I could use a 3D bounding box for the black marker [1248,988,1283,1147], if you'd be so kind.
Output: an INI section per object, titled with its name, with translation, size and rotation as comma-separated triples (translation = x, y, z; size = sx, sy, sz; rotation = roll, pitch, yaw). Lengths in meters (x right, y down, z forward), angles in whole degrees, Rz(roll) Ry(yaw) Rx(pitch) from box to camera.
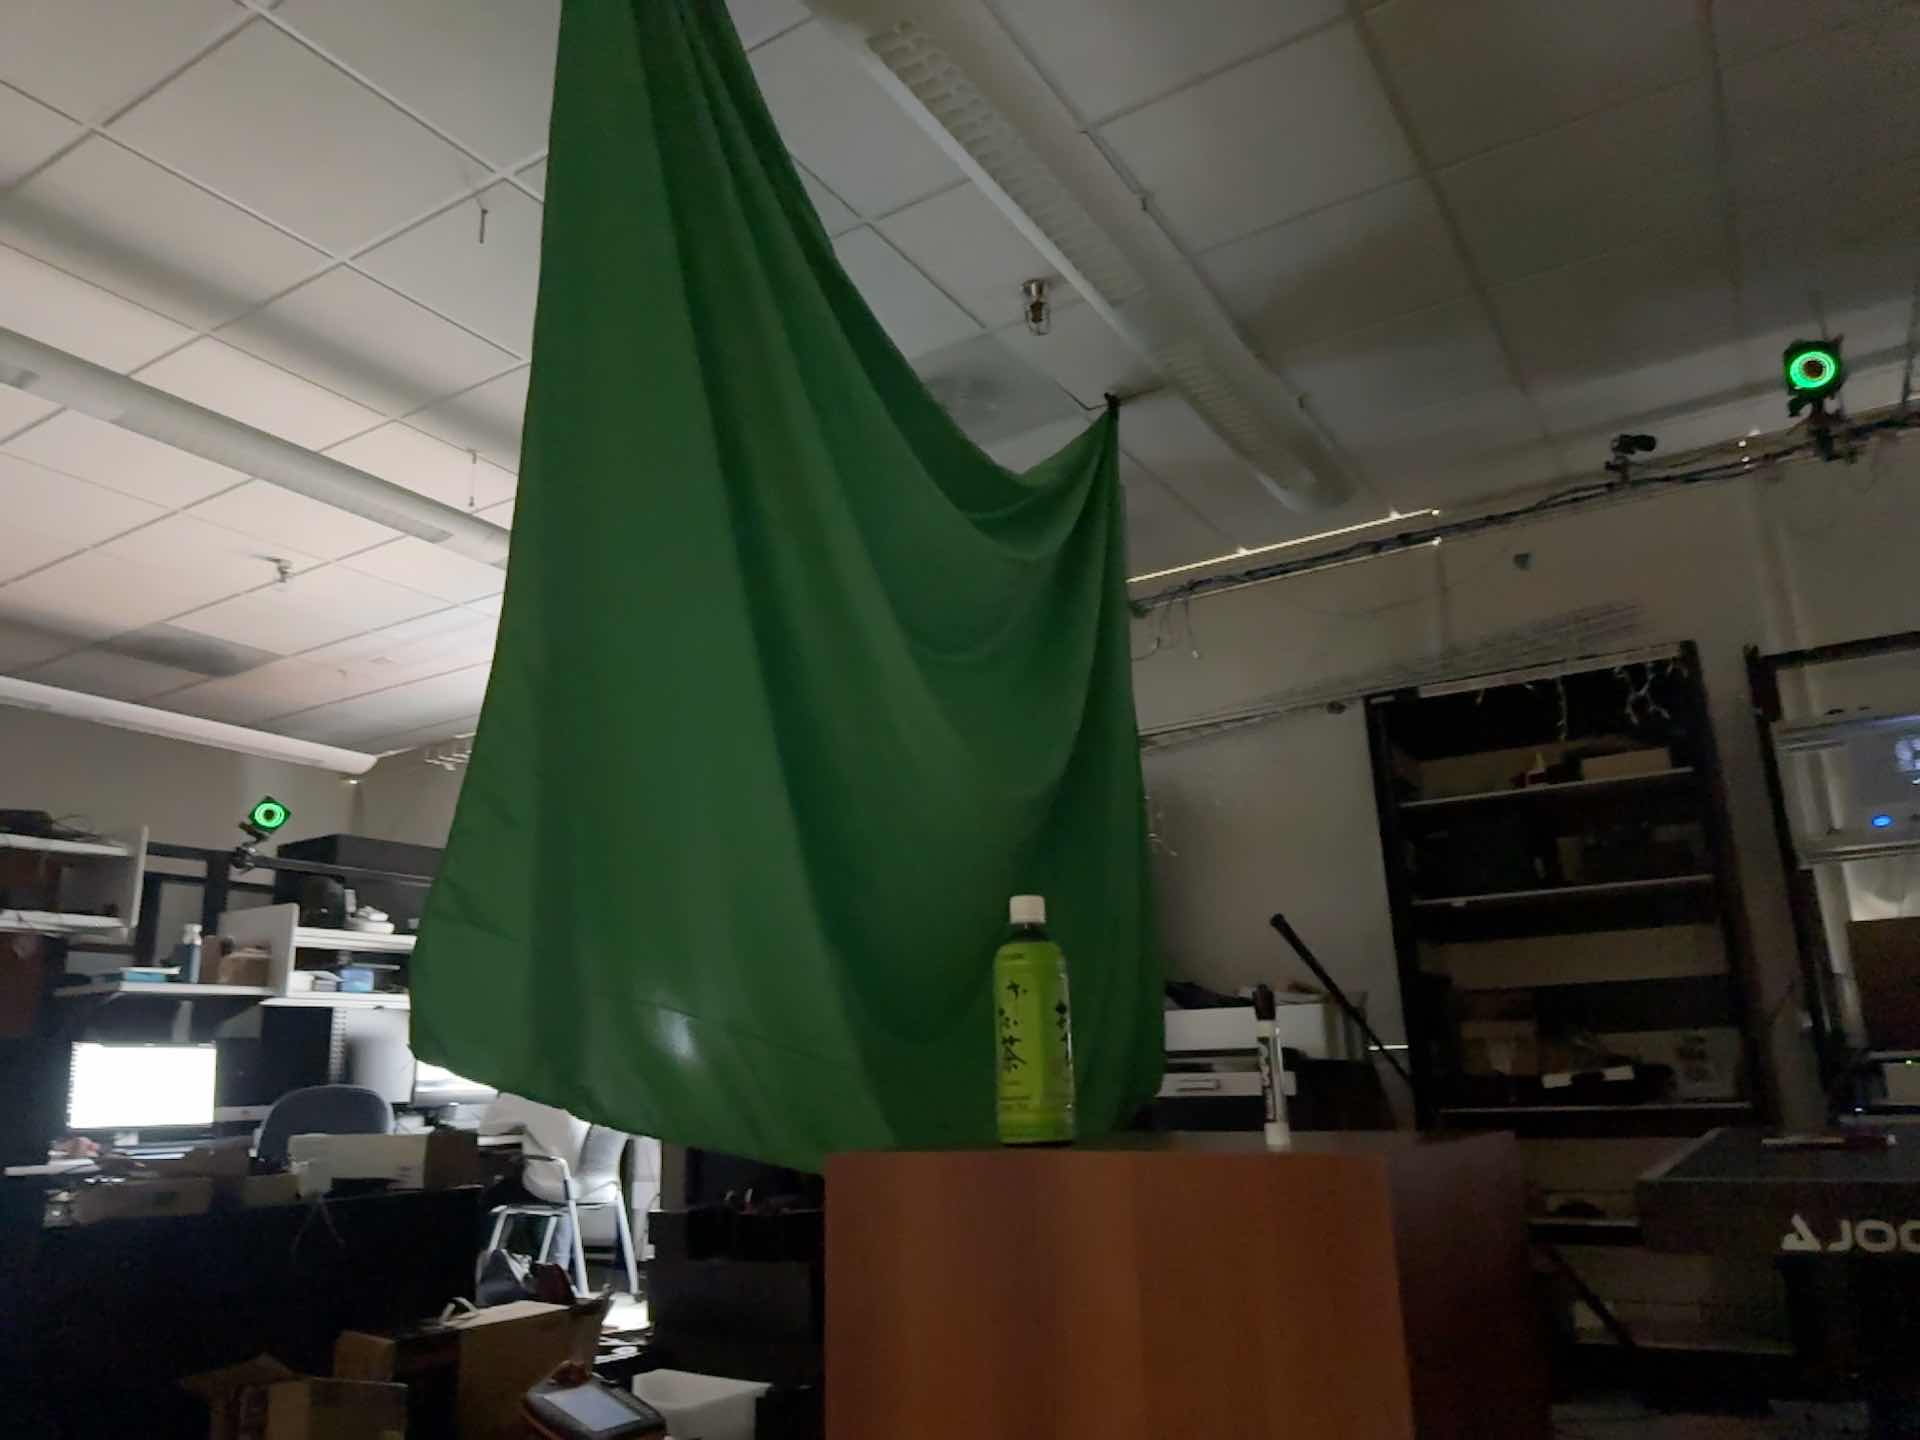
[black marker]
translation = 0.241, 0.273, 1.061
size = 0.020, 0.121, 0.020
rotation = -1, -13, 0

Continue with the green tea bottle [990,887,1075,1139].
[green tea bottle]
translation = 0.060, 0.252, 1.166
size = 0.073, 0.212, 0.073
rotation = -3, -16, -1
